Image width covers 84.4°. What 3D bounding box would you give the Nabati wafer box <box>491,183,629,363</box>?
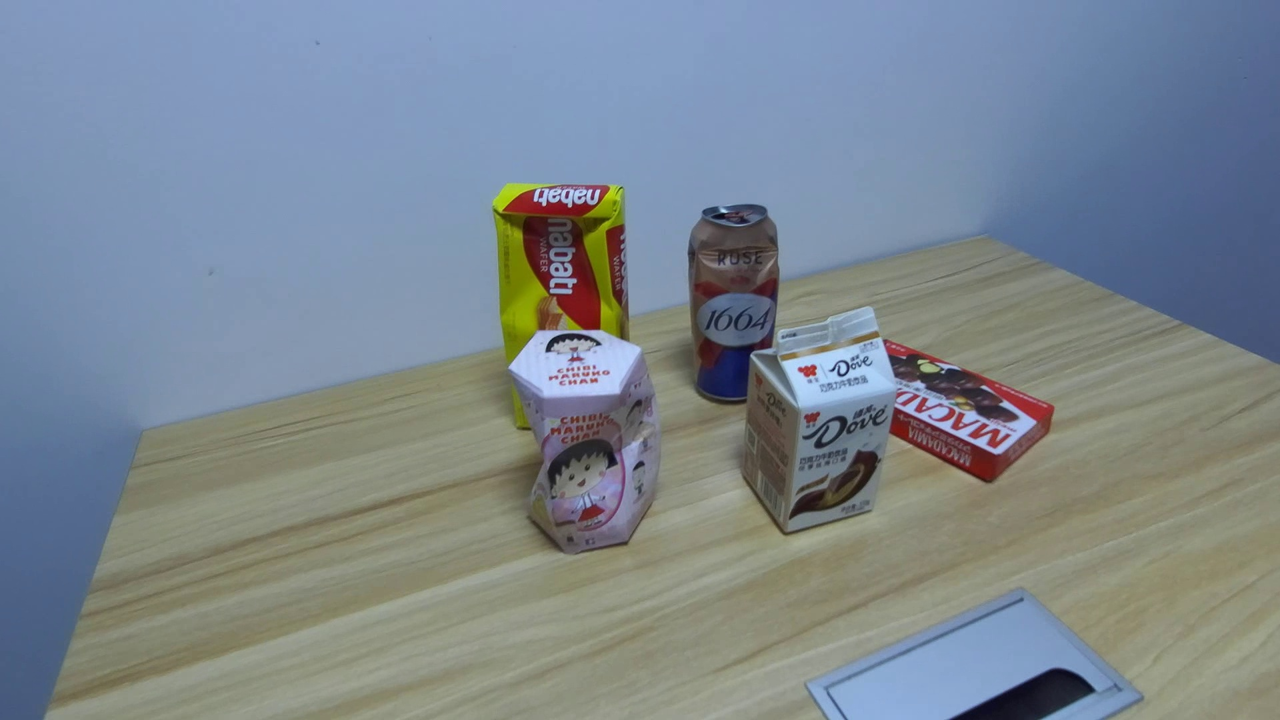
[{"bbox_3d":[-0.059,-0.034,0.562,0.096,0.203,0.042,4,29,8],"label":"Nabati wafer box"}]

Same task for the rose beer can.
[{"bbox_3d":[0.081,-0.047,0.603,0.075,0.167,0.065,2,28,13],"label":"rose beer can"}]

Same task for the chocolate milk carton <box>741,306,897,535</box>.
[{"bbox_3d":[0.122,0.035,0.487,0.075,0.148,0.074,-10,33,-15],"label":"chocolate milk carton"}]

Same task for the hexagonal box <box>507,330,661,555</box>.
[{"bbox_3d":[-0.041,0.056,0.481,0.093,0.135,0.089,26,42,38],"label":"hexagonal box"}]

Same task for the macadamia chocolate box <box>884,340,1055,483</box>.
[{"bbox_3d":[0.240,0.029,0.606,0.103,0.027,0.186,-24,38,-34],"label":"macadamia chocolate box"}]
